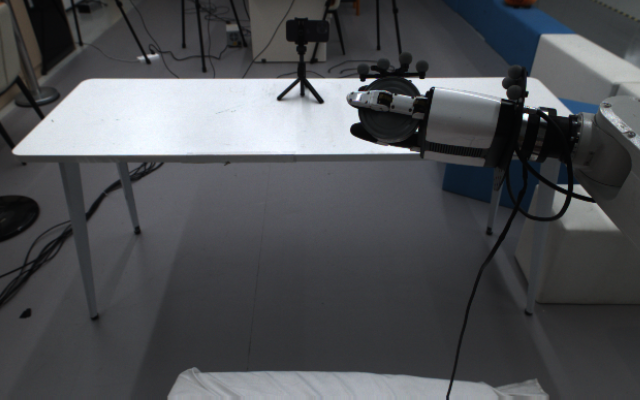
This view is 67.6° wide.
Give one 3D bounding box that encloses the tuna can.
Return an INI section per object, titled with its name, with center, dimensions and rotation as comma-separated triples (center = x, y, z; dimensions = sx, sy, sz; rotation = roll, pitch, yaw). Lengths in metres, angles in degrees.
[tuna can]
center = 0.098, -0.117, 0.653
dimensions = 0.085, 0.085, 0.034
rotation = 12, 0, 14
